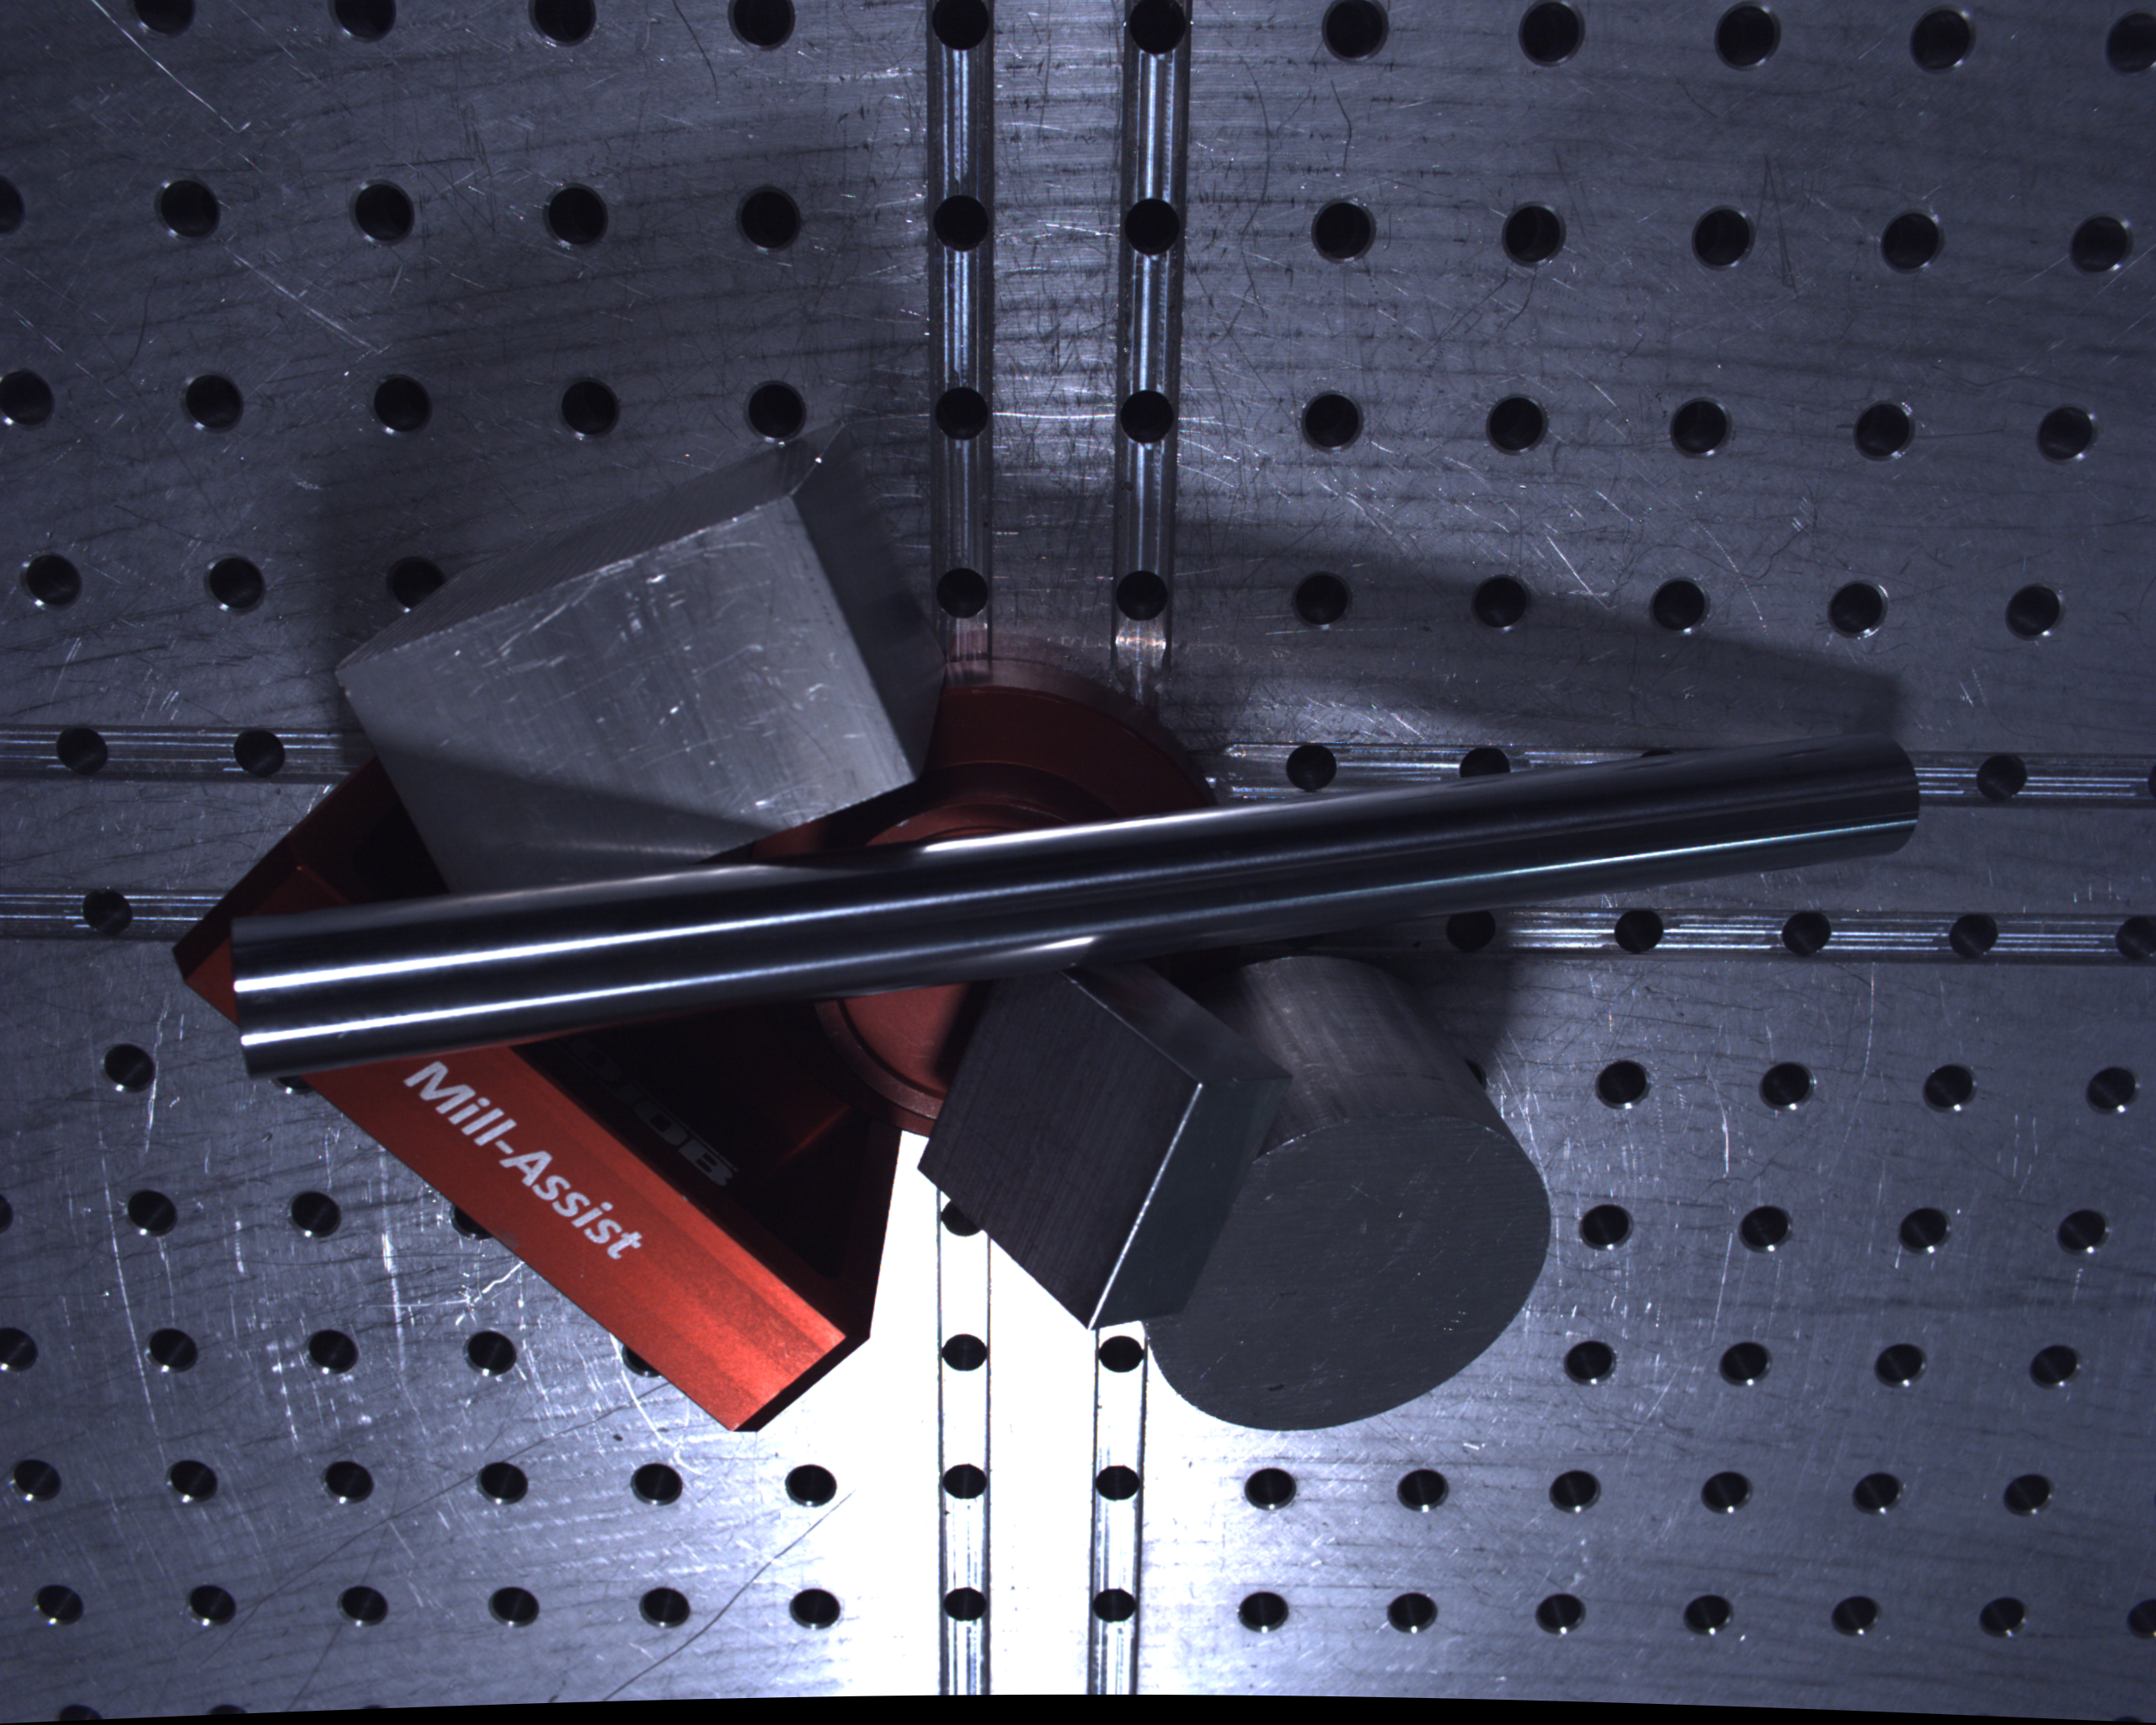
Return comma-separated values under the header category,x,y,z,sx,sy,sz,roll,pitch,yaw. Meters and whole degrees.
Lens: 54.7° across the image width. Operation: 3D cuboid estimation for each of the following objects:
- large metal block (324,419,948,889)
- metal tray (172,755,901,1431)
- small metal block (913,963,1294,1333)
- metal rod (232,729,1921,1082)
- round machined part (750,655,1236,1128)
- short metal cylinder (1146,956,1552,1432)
category,x,y,z,sx,sy,sz,roll,pitch,yaw
large metal block,-0.072,-0.036,0.368,0.080,0.080,0.050,-20,109,7
metal tray,-0.092,0.035,0.389,0.030,0.090,0.130,-42,105,14
small metal block,0.003,0.047,0.371,0.025,0.050,0.050,4,115,-47
metal rod,0.016,0.003,0.364,0.303,0.025,0.025,-7,111,-19
round machined part,-0.017,0.012,0.411,0.099,0.042,0.097,0,110,-1
short metal cylinder,0.045,0.065,0.412,0.081,0.050,0.079,-8,124,-13
